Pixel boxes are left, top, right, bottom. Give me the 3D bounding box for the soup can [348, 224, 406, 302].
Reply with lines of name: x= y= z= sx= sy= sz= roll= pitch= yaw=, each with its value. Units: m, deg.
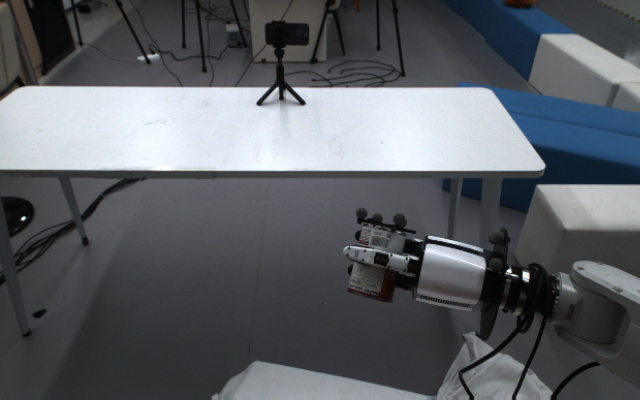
soup can: x=0.085 y=0.092 z=0.706 sx=0.067 sy=0.101 sz=0.067 roll=13 pitch=-6 yaw=1
